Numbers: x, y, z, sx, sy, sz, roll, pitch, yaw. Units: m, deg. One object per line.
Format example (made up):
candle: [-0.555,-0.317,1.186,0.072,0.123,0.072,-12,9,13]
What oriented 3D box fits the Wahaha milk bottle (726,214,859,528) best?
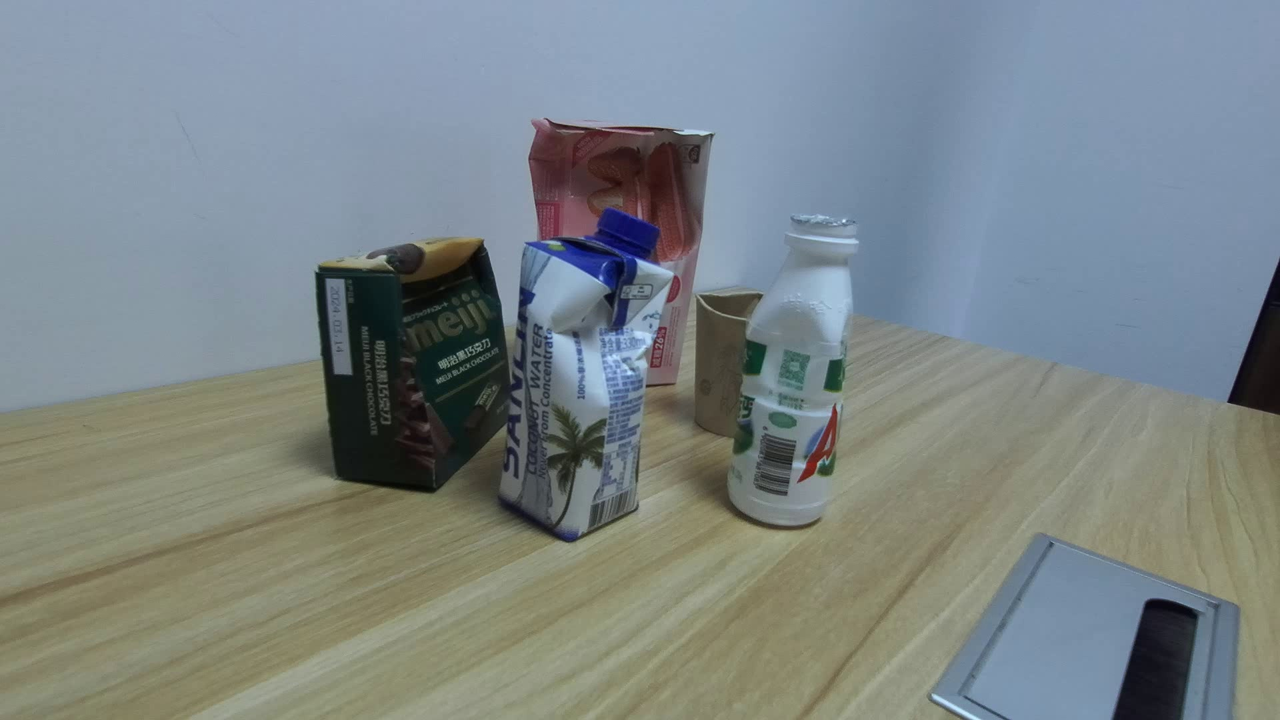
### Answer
Wahaha milk bottle: [0.076,0.005,0.344,0.055,0.149,0.055,5,16,-1]

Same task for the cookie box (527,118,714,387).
cookie box: [-0.018,-0.071,0.498,0.119,0.184,0.055,-3,19,-22]

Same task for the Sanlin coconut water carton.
Sanlin coconut water carton: [-0.025,0.005,0.328,0.060,0.143,0.070,19,20,39]
